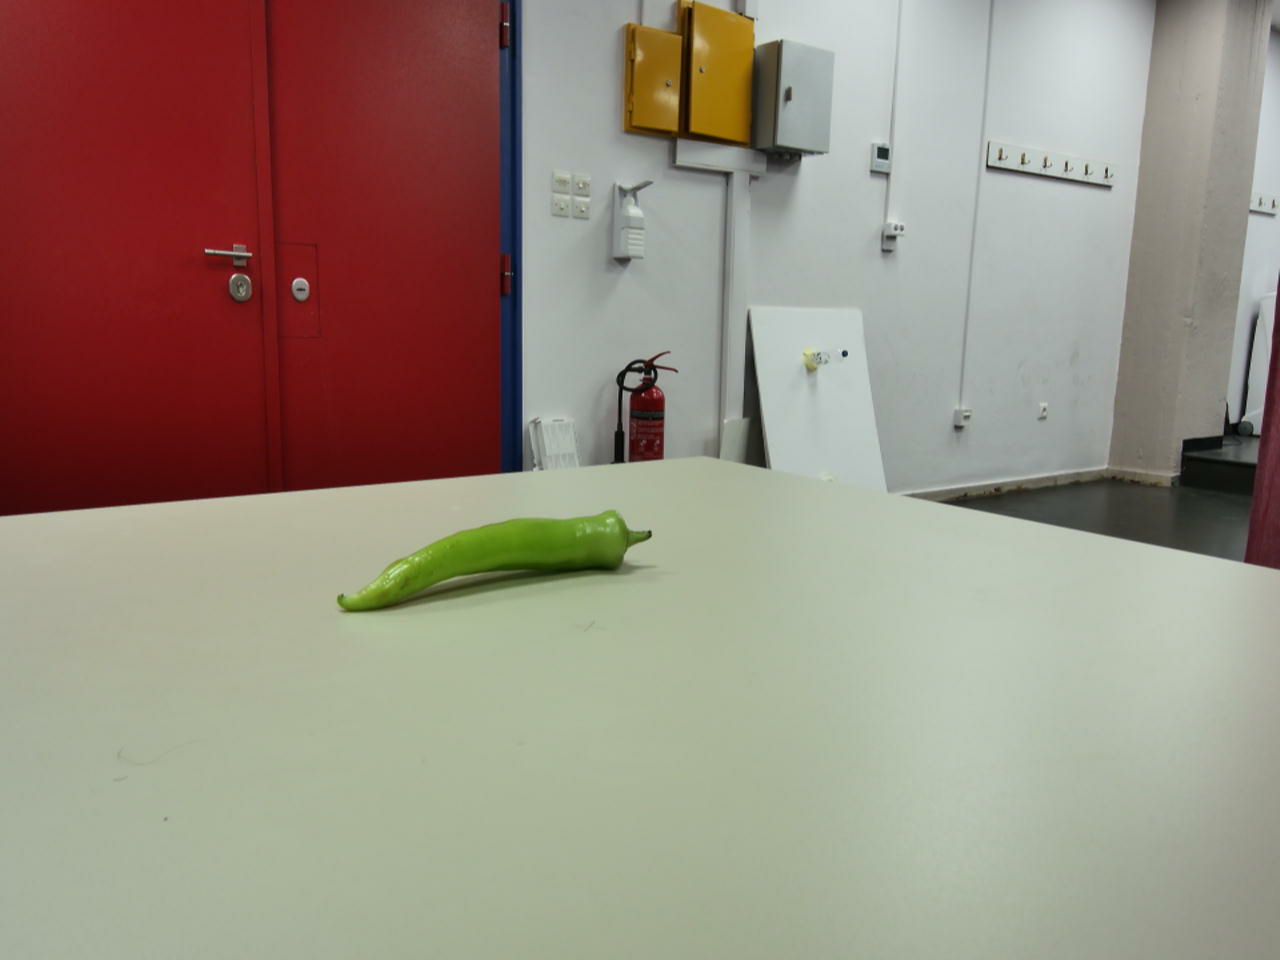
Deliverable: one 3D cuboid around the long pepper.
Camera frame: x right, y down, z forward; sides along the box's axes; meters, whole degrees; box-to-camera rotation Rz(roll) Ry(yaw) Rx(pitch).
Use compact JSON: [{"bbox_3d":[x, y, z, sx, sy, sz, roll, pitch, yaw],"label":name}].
[{"bbox_3d":[-0.083,0.043,0.585,0.197,0.038,0.047,-5,9,-34],"label":"long pepper"}]
